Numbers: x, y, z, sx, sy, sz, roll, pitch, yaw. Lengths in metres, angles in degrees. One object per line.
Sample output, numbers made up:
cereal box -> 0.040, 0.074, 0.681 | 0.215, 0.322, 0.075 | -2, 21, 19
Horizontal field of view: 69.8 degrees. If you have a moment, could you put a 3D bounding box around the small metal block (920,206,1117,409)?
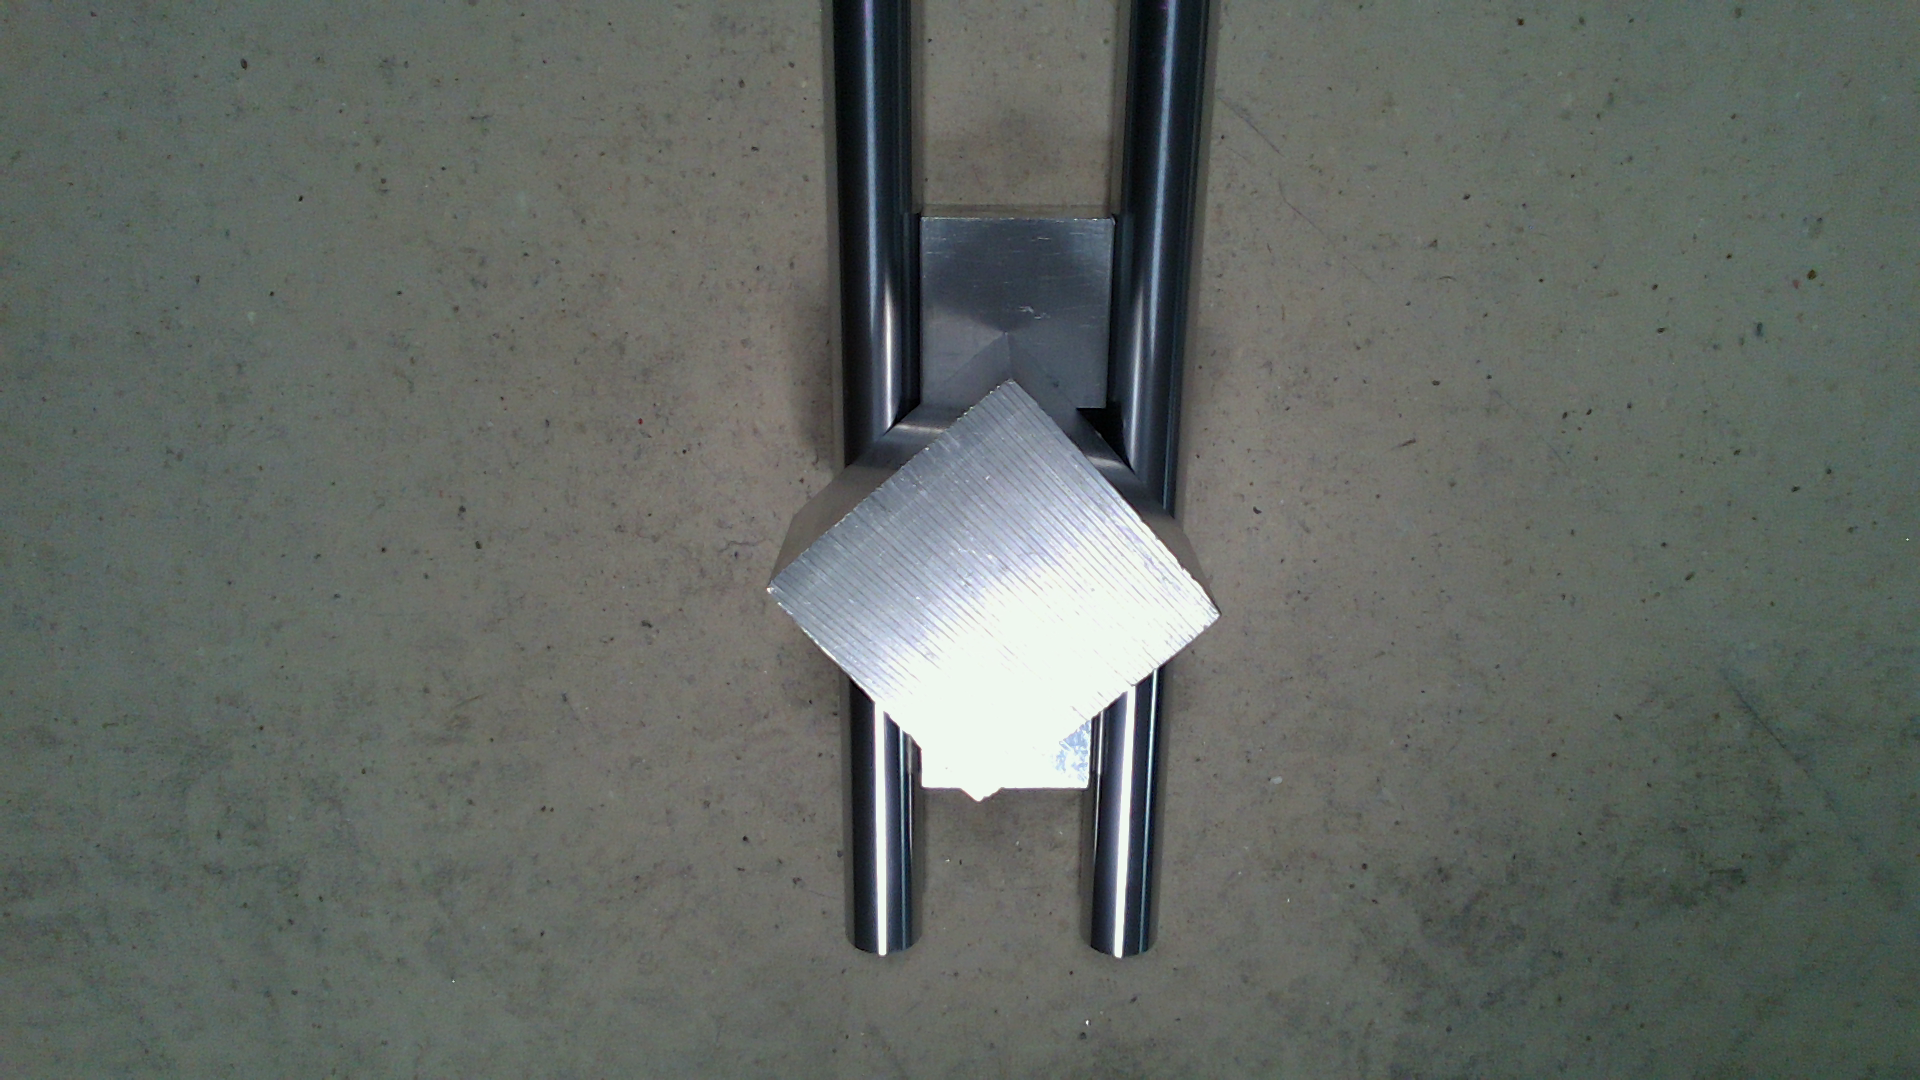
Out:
small metal block -> 0.015, -0.063, 0.370 | 0.050, 0.025, 0.050 | 1, 110, 0

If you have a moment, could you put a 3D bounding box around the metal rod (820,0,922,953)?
metal rod -> -0.024, -0.016, 0.389 | 0.025, 0.025, 0.300 | 0, 110, 0

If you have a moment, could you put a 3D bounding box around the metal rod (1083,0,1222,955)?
metal rod -> 0.052, -0.016, 0.389 | 0.025, 0.025, 0.300 | 0, 110, 0

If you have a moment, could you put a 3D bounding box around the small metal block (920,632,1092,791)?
small metal block -> 0.014, 0.046, 0.410 | 0.050, 0.025, 0.050 | 1, 110, 0

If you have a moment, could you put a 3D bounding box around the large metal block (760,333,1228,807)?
large metal block -> 0.009, 0.006, 0.354 | 0.080, 0.050, 0.080 | -39, 106, 13
